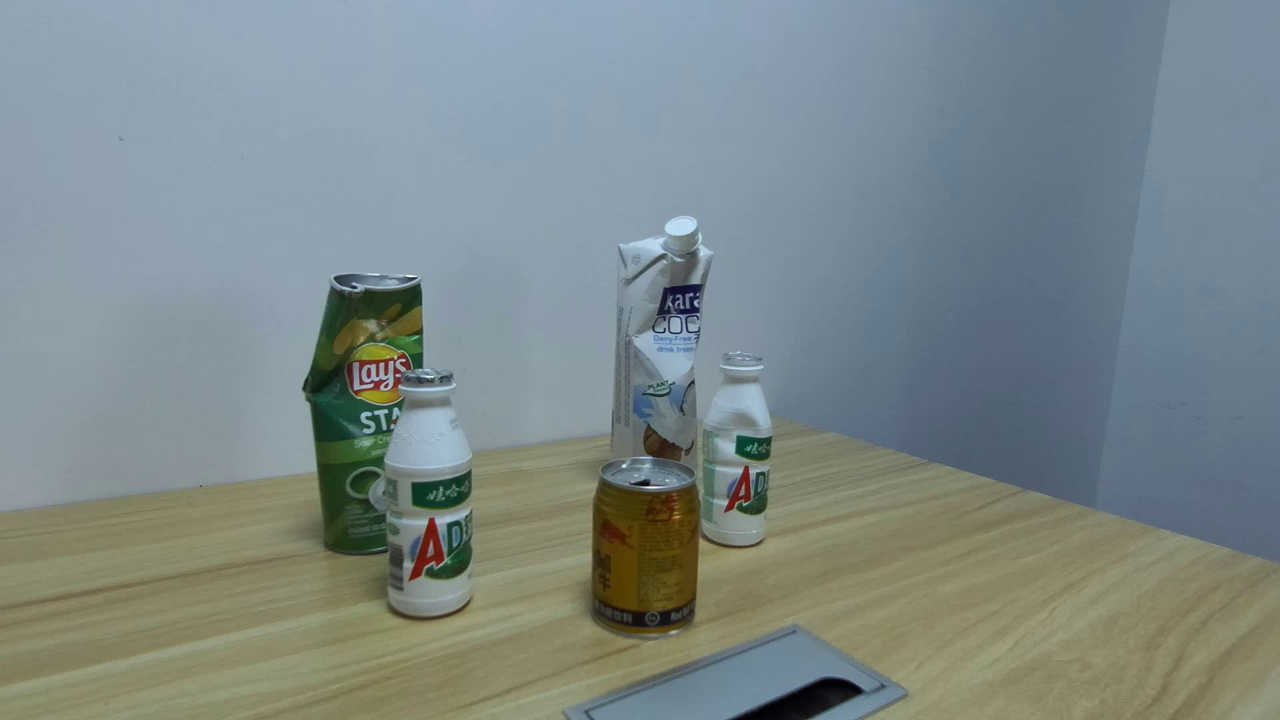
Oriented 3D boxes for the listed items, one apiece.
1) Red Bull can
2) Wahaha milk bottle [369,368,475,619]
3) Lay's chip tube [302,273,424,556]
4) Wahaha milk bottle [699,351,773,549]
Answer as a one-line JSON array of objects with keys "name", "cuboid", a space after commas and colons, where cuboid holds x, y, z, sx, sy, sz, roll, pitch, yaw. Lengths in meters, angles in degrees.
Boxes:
[{"name": "Red Bull can", "cuboid": [0.004, 0.113, 0.437, 0.067, 0.093, 0.067, 3, 10, 0]}, {"name": "Wahaha milk bottle", "cuboid": [-0.131, 0.081, 0.437, 0.053, 0.147, 0.053, 1, 9, 0]}, {"name": "Lay's chip tube", "cuboid": [-0.202, 0.038, 0.527, 0.069, 0.201, 0.077, 1, 11, -6]}, {"name": "Wahaha milk bottle", "cuboid": [0.076, 0.069, 0.553, 0.055, 0.149, 0.055, 3, 11, 0]}]
